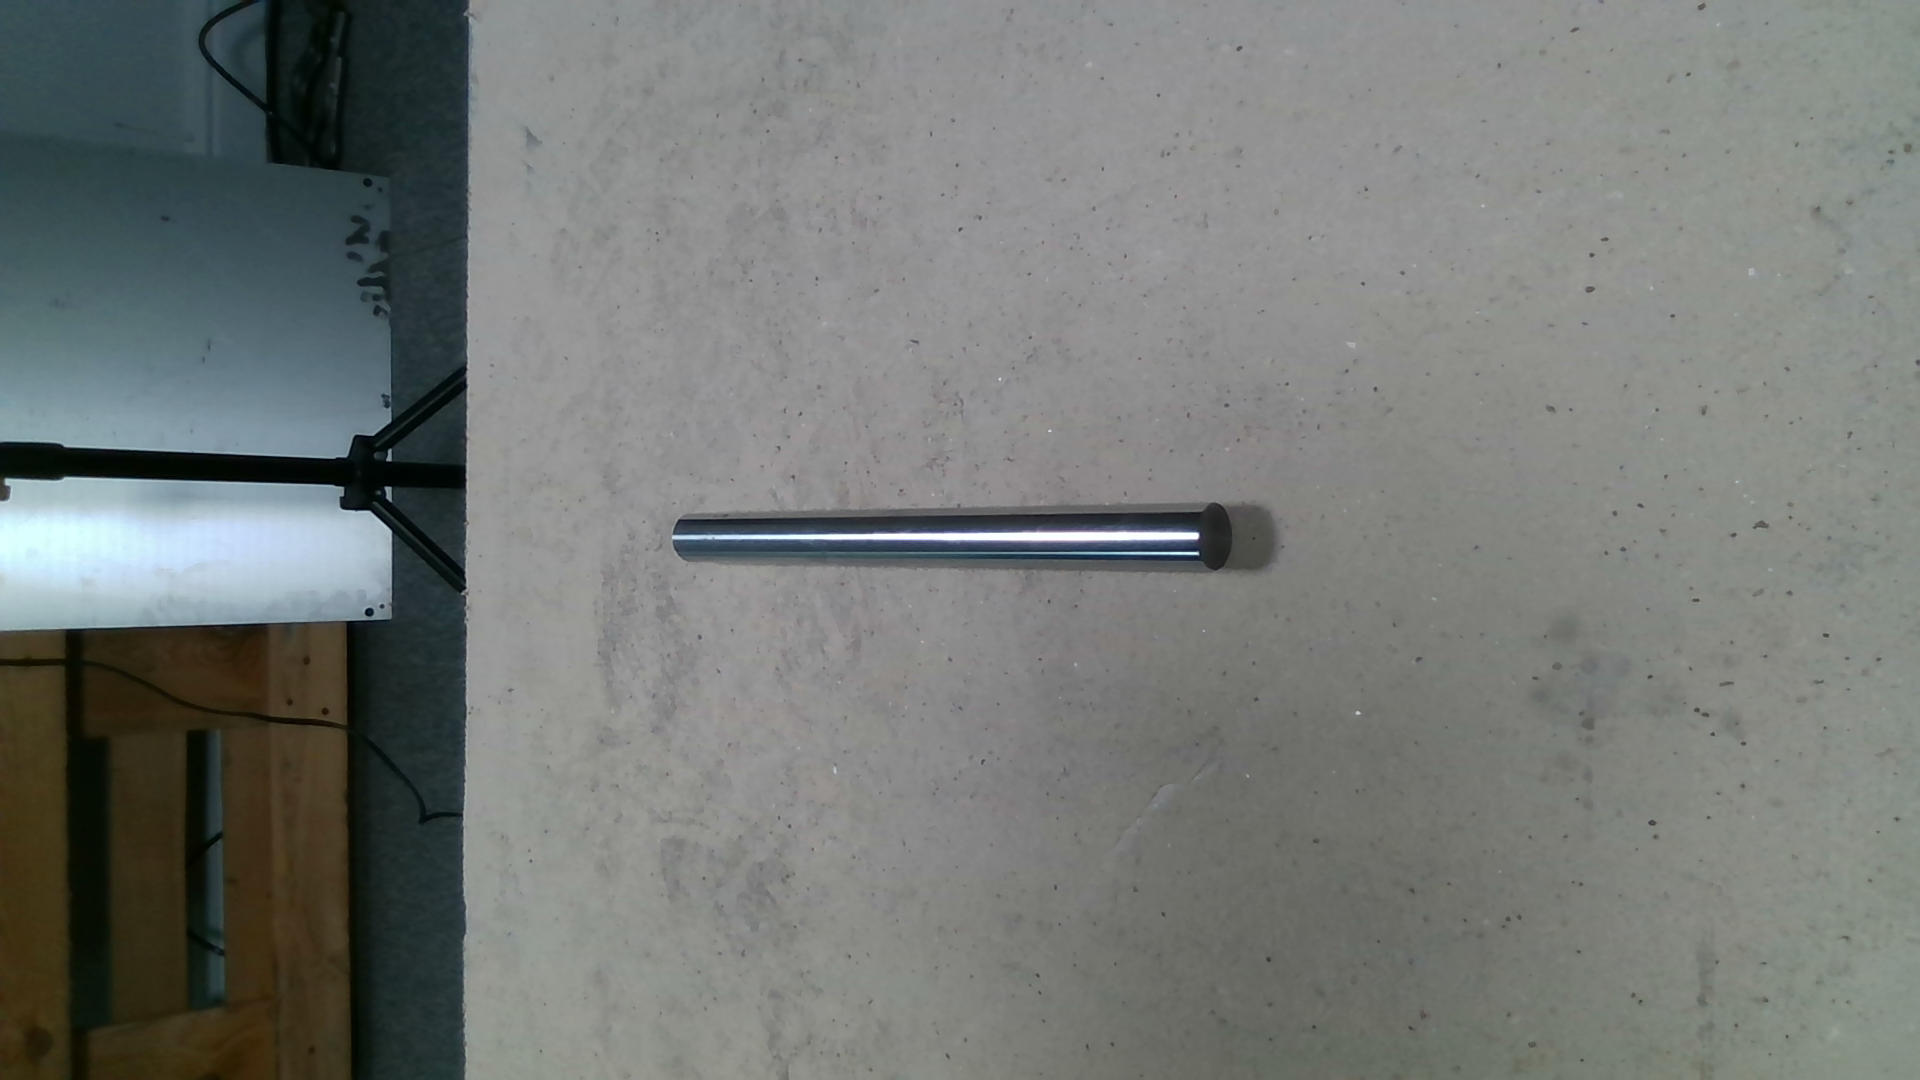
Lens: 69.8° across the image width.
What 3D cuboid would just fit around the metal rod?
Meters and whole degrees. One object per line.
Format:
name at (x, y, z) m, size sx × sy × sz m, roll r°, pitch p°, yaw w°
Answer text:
metal rod at (-0.022, -0.002, 0.600) m, size 0.300 × 0.025 × 0.025 m, roll 0°, pitch 90°, yaw 40°
